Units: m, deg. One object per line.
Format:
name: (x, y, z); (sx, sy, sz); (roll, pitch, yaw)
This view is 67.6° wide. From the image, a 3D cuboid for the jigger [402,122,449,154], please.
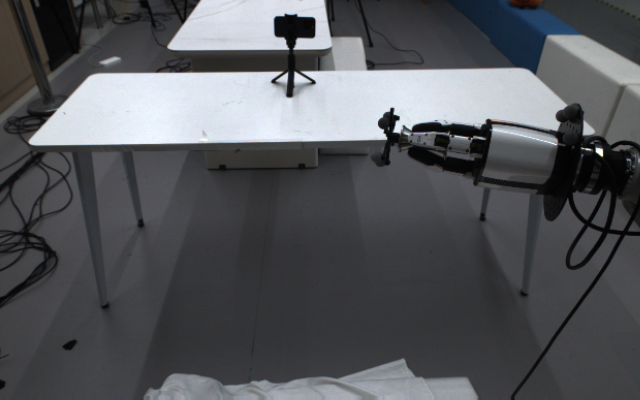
jigger: (0.156, -0.088, 0.700); (0.071, 0.043, 0.043); (10, 35, 16)
